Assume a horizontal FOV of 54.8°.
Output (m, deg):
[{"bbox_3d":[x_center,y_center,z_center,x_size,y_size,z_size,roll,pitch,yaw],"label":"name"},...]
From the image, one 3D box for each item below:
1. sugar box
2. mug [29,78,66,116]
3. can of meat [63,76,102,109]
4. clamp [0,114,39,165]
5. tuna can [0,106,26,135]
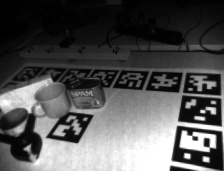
[{"bbox_3d":[-0.276,0.031,0.689,0.177,0.093,0.045,-20,38,-9],"label":"sugar box"},{"bbox_3d":[-0.196,0.044,0.644,0.092,0.082,0.118,26,55,38],"label":"mug"},{"bbox_3d":[-0.086,0.022,0.648,0.101,0.084,0.058,-1,40,14],"label":"can of meat"},{"bbox_3d":[-0.248,0.149,0.582,0.123,0.037,0.163,-29,45,-24],"label":"clamp"},{"bbox_3d":[-0.303,0.105,0.644,0.085,0.034,0.085,-9,41,8],"label":"tuna can"}]
